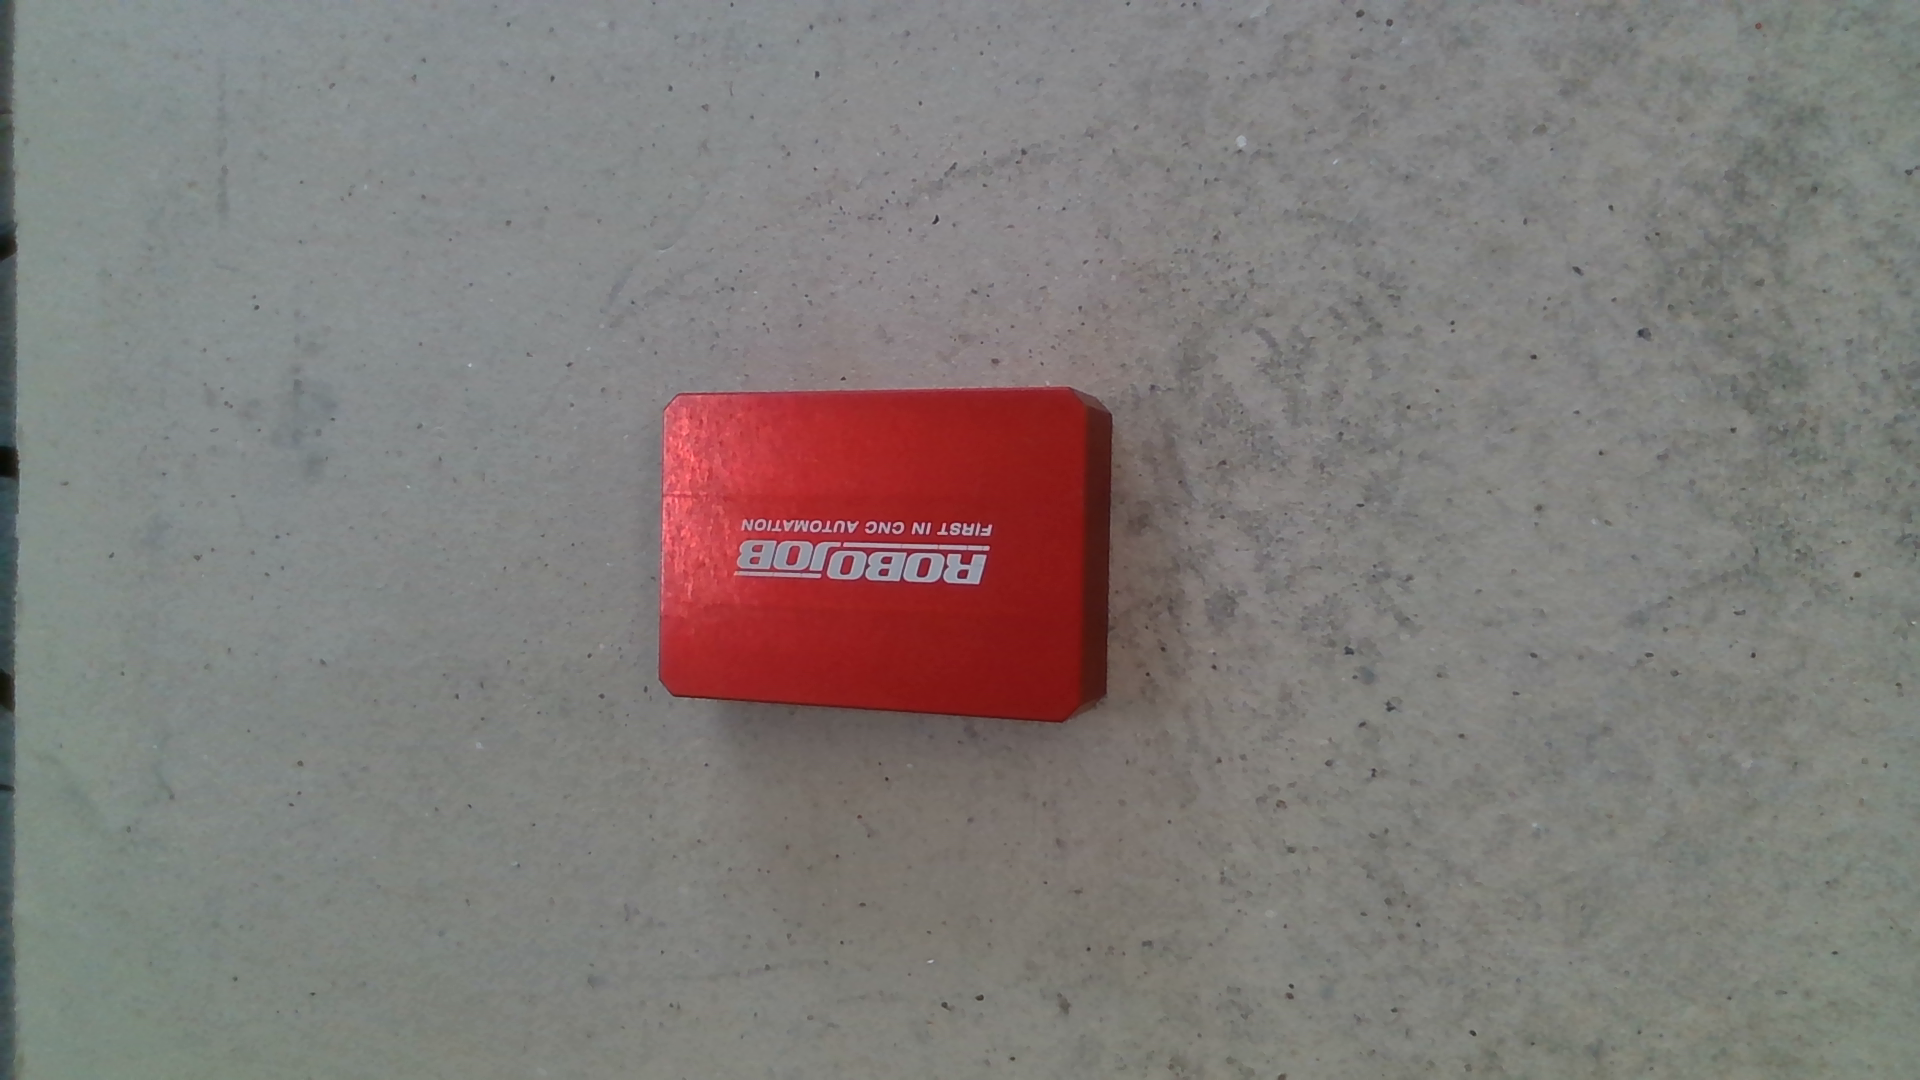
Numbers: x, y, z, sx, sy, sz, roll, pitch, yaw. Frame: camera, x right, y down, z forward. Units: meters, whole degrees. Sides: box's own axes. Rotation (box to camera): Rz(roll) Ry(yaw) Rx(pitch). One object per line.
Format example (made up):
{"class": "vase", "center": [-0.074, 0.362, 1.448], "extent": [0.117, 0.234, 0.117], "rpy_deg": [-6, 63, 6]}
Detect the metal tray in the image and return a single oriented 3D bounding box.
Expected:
{"class": "metal tray", "center": [-0.024, 0.002, 0.400], "extent": [0.130, 0.030, 0.090], "rpy_deg": [1, 91, 21]}
